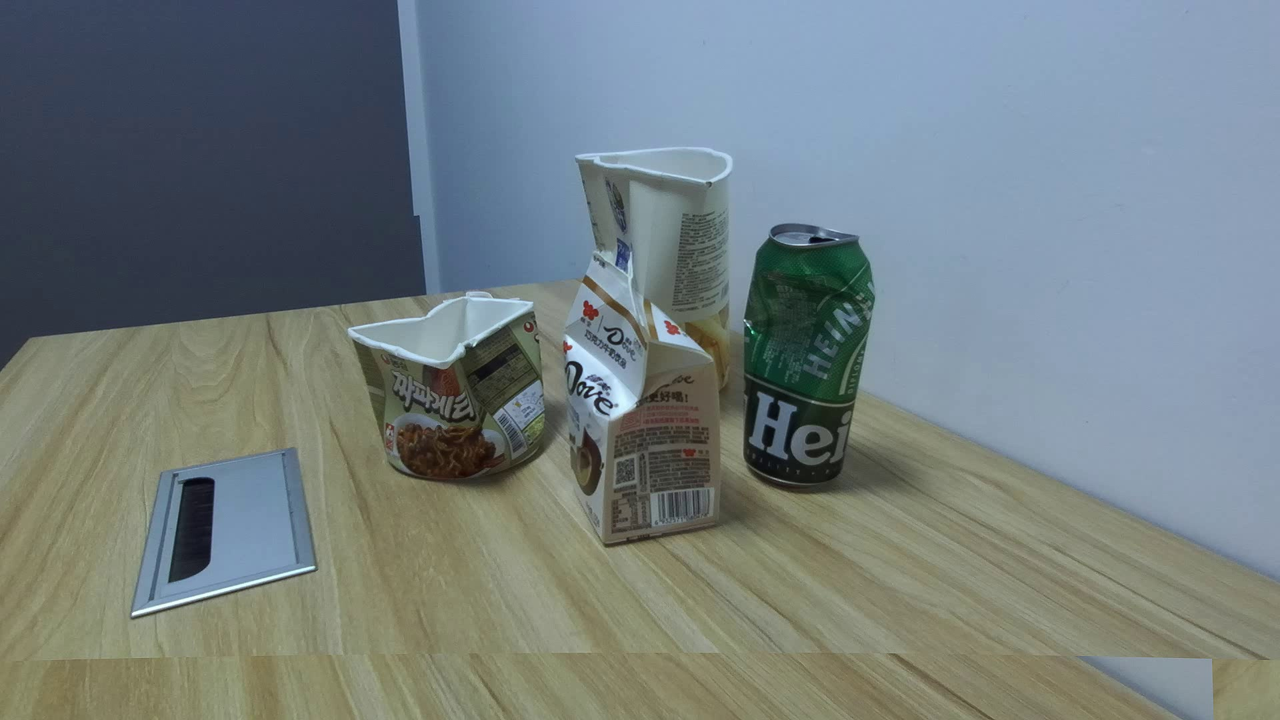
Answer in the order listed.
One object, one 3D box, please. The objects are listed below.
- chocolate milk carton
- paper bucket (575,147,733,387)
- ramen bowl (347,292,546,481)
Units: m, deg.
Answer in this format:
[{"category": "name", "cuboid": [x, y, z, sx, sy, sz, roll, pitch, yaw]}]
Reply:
[{"category": "chocolate milk carton", "cuboid": [0.001, 0.018, 0.409, 0.074, 0.155, 0.076, -8, 23, -16]}, {"category": "paper bucket", "cuboid": [0.010, -0.076, 0.604, 0.217, 0.199, 0.148, 18, 26, 41]}, {"category": "ramen bowl", "cuboid": [-0.123, 0.016, 0.505, 0.111, 0.093, 0.129, 14, 25, 32]}]
